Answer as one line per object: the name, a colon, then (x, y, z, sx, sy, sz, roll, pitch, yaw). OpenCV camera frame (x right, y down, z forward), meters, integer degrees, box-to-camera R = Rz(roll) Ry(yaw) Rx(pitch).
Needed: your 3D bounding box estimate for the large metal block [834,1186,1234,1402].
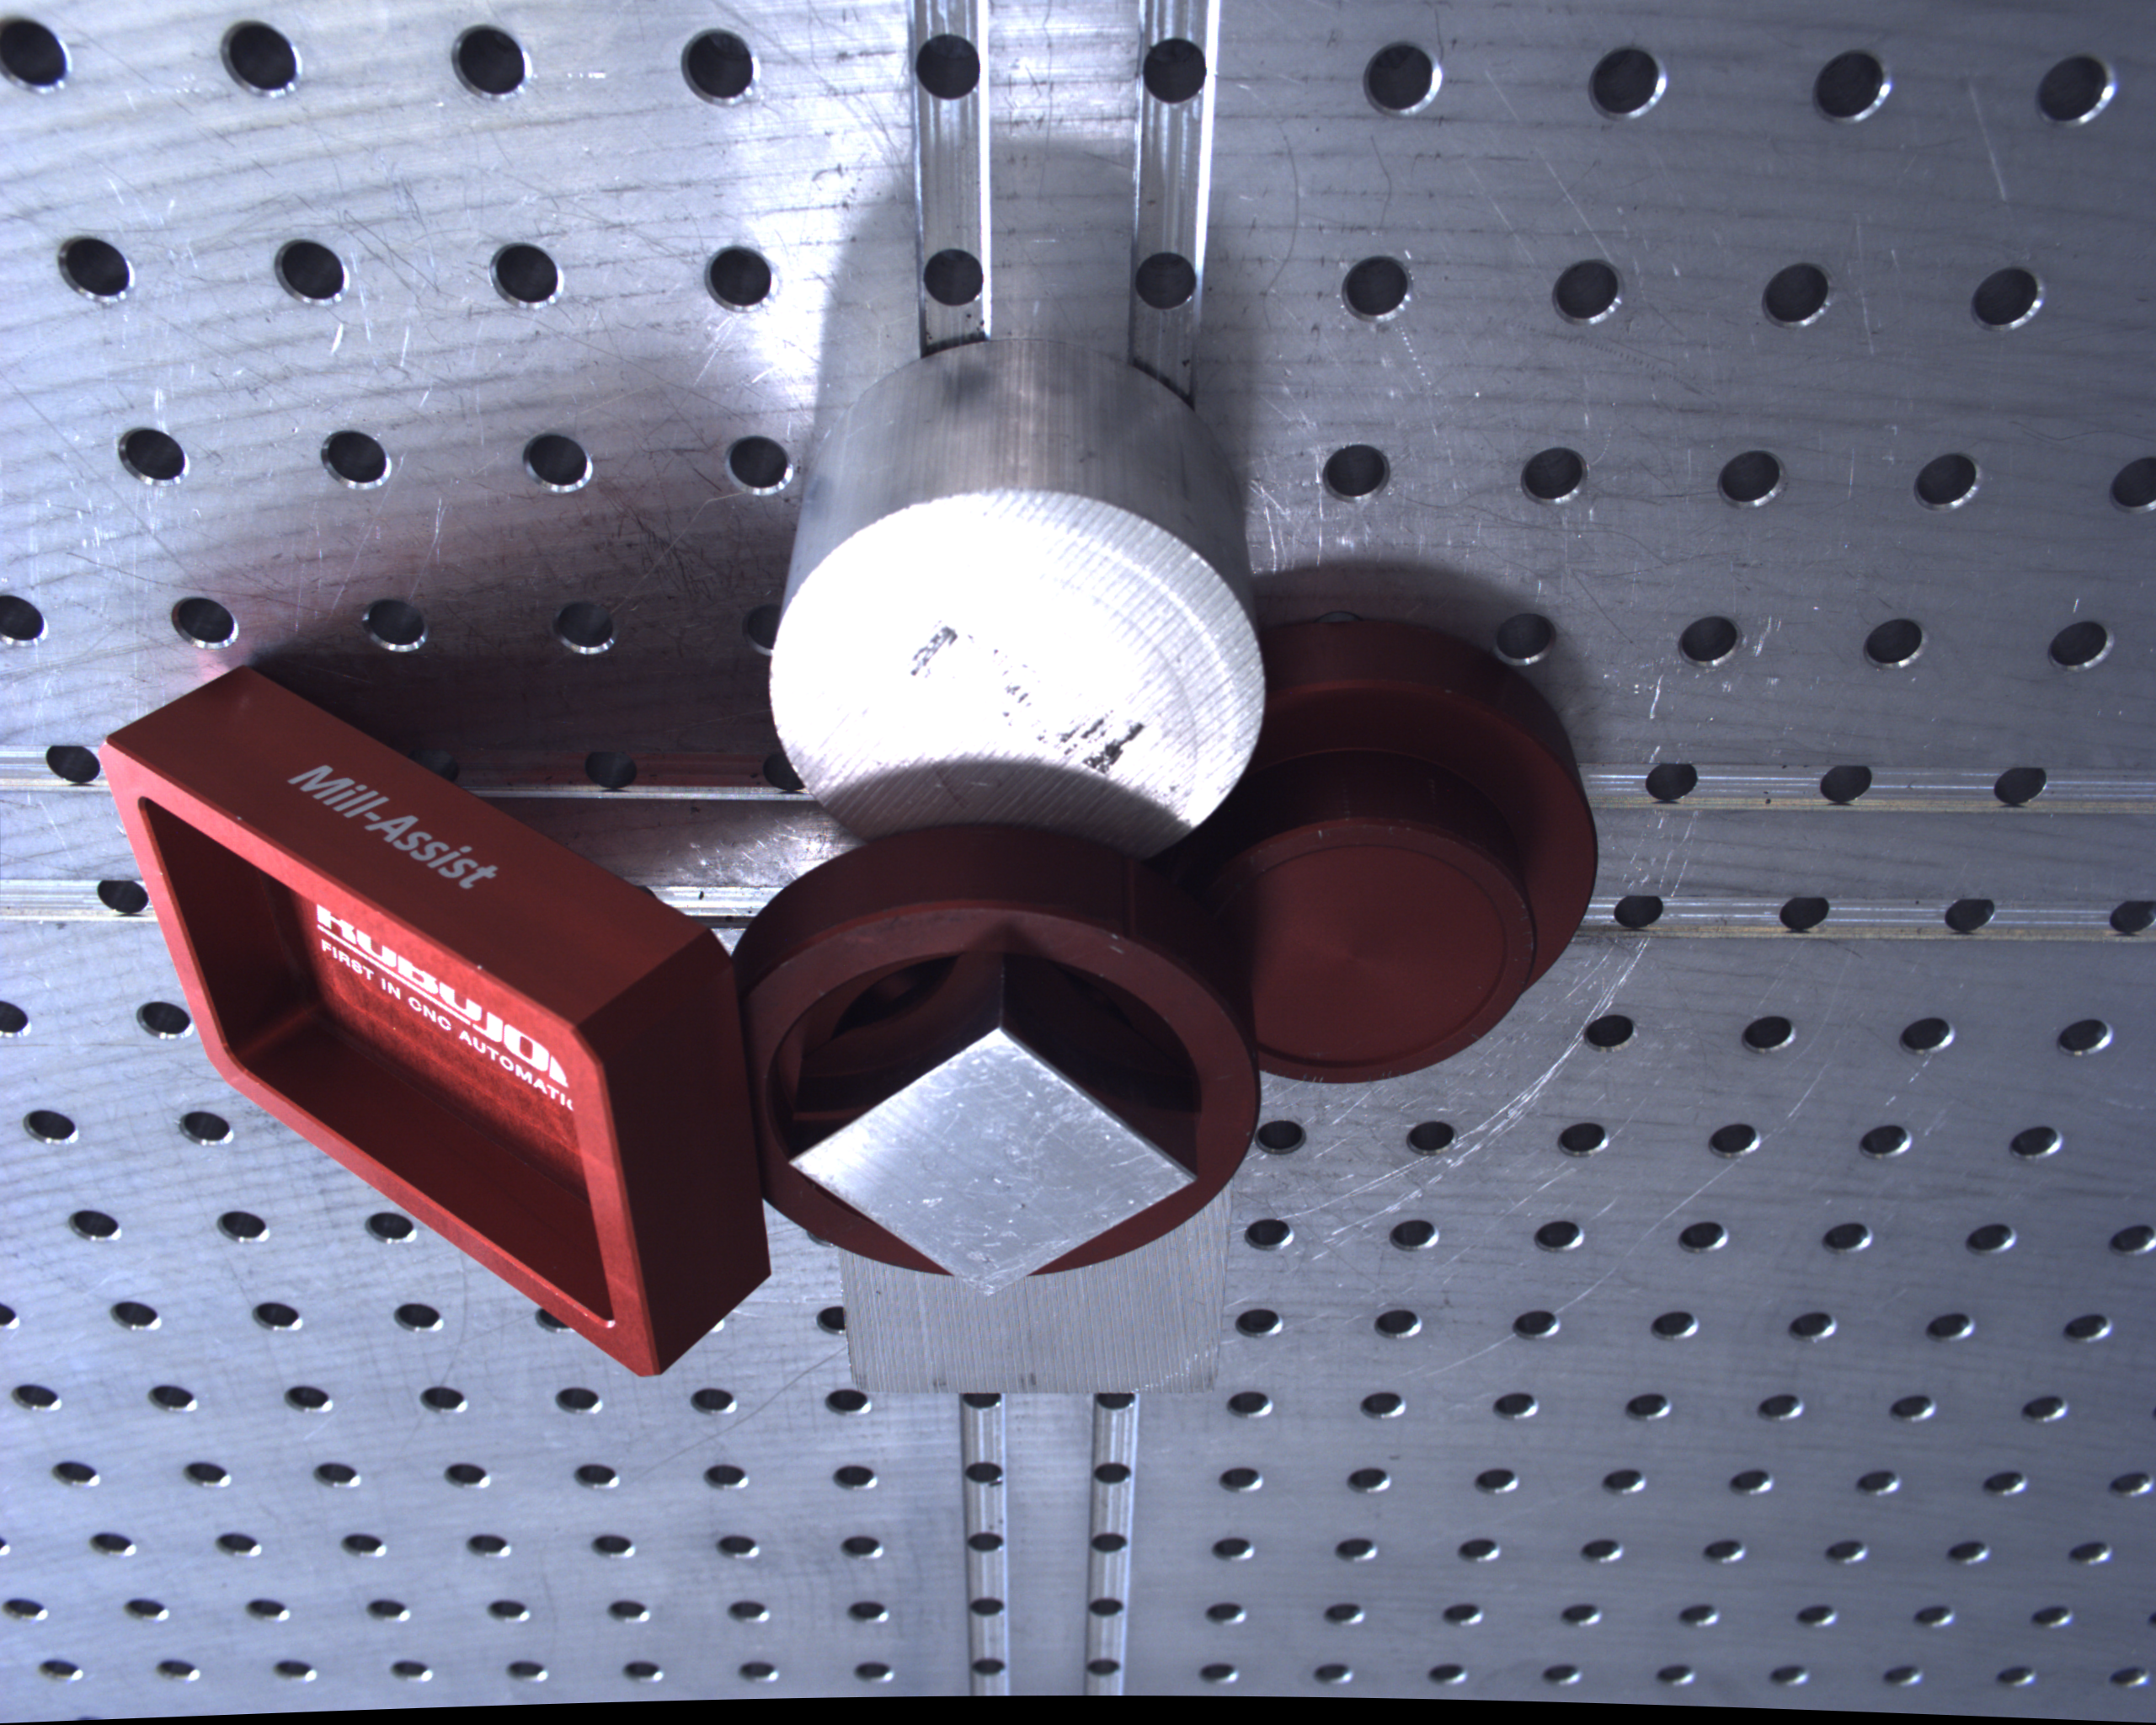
large metal block: (-0.010, 0.072, 0.453, 0.081, 0.050, 0.079, 0, 130, -1)

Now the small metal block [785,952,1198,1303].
small metal block: (-0.015, 0.046, 0.369, 0.050, 0.025, 0.050, -34, 123, 25)

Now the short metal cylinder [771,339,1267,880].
short metal cylinder: (-0.010, -0.042, 0.359, 0.081, 0.050, 0.079, 0, 130, 0)

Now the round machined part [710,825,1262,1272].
round machined part: (-0.017, 0.030, 0.388, 0.099, 0.042, 0.097, 0, 130, 0)

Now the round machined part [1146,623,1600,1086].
round machined part: (0.052, 0.005, 0.404, 0.099, 0.042, 0.097, 0, 130, 0)

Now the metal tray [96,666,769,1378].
metal tray: (-0.118, 0.028, 0.384, 0.130, 0.030, 0.089, 26, 136, 26)
